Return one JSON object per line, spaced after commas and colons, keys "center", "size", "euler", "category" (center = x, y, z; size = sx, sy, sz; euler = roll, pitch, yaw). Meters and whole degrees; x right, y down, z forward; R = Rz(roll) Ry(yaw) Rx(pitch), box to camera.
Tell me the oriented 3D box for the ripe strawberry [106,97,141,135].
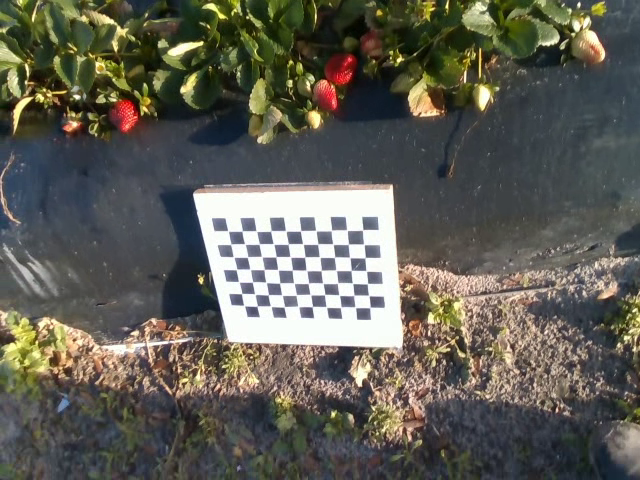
{"center": [-0.293, -0.178, 1.010], "size": [0.052, 0.052, 0.041], "euler": [-30, -38, 25], "category": "ripe strawberry"}
